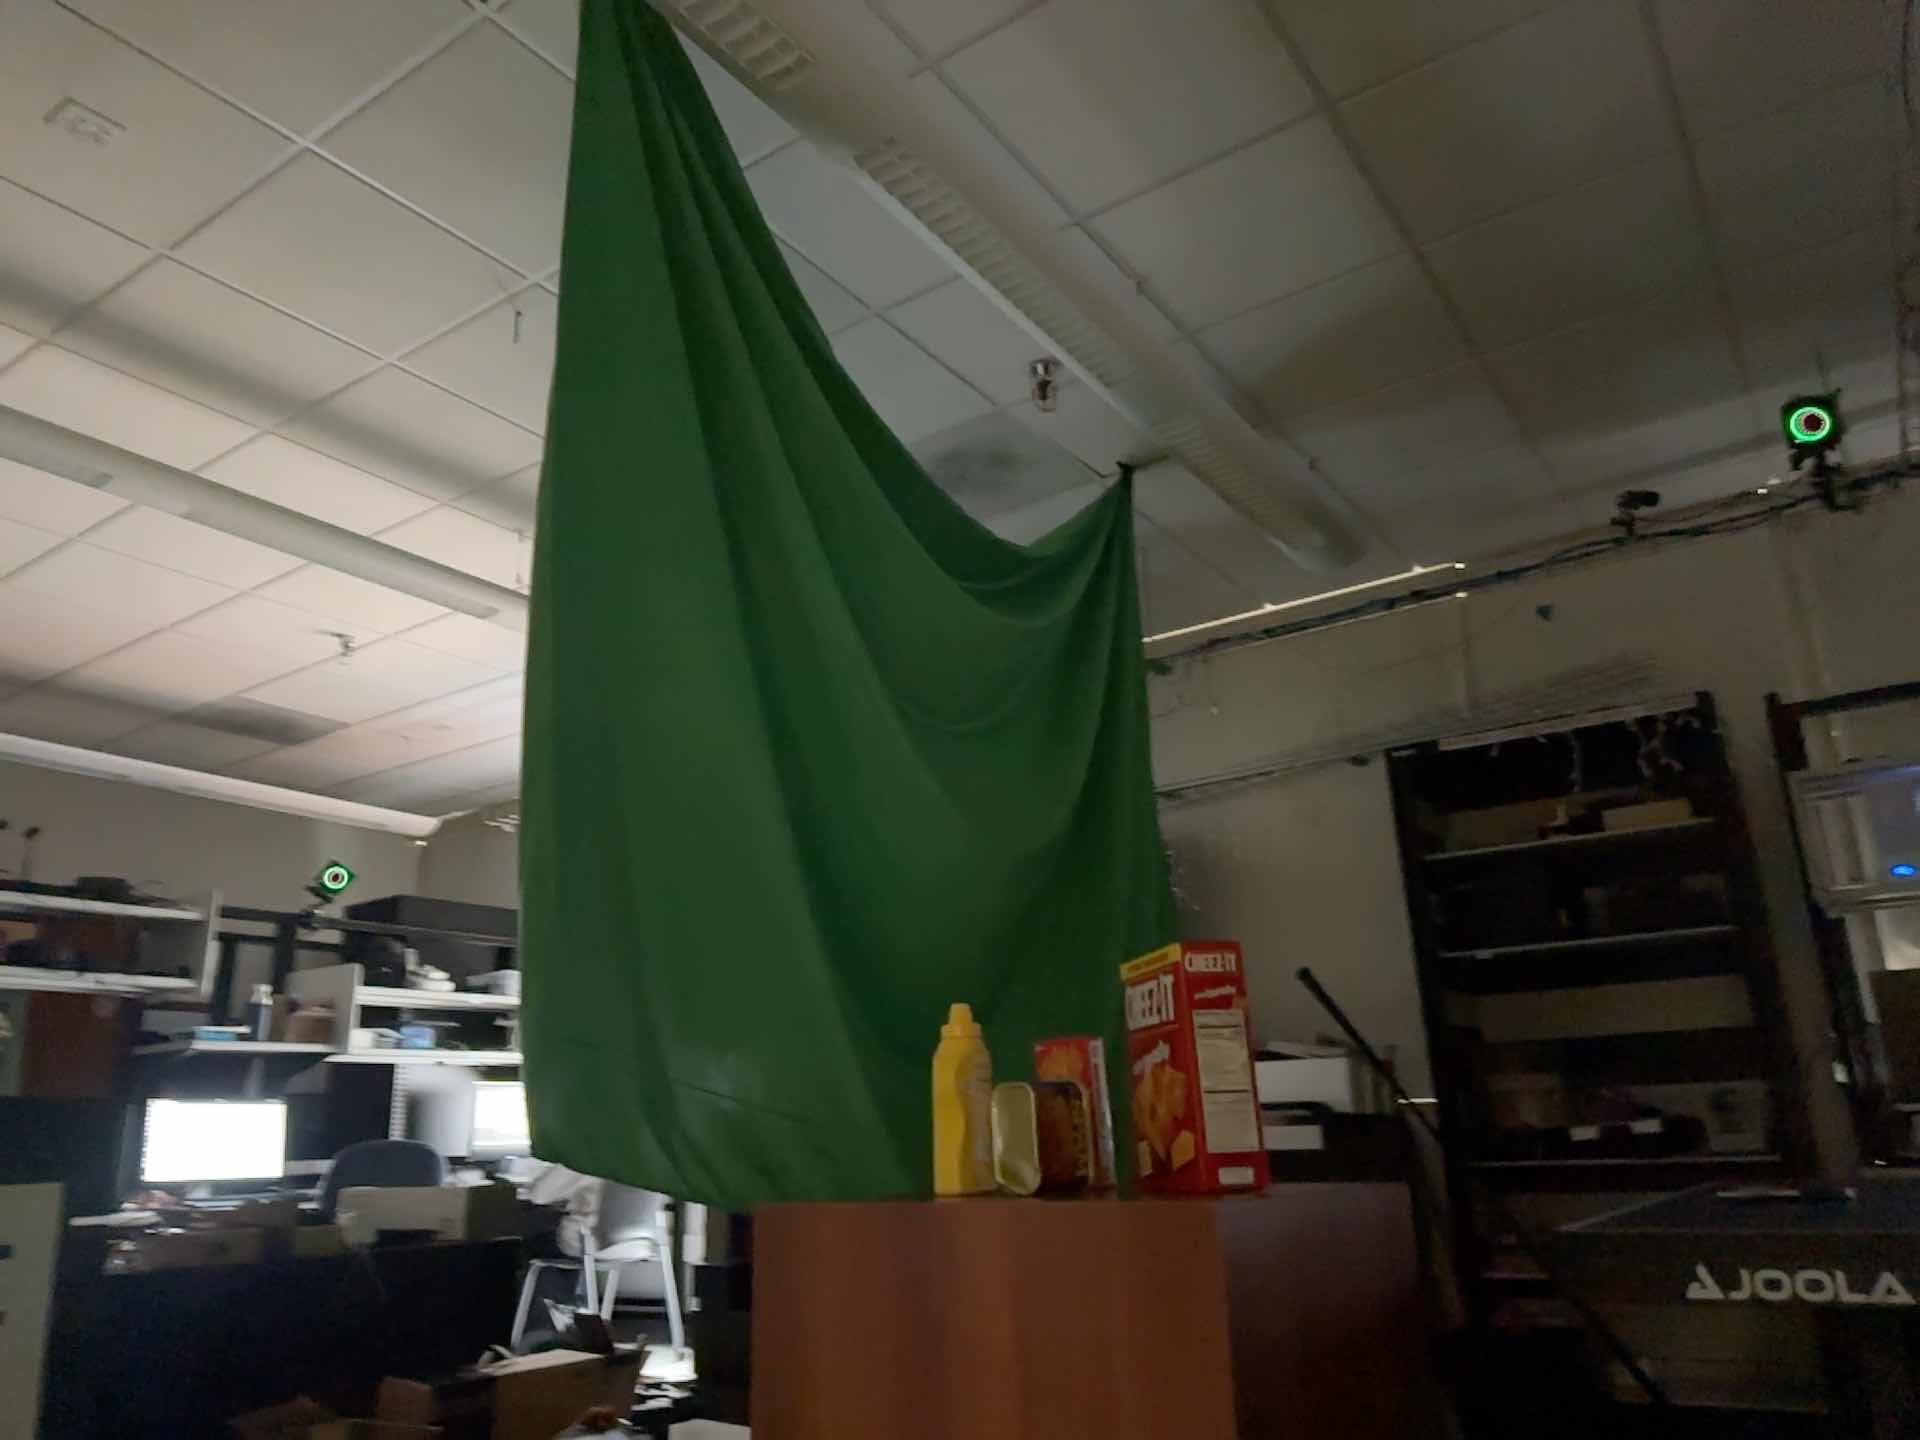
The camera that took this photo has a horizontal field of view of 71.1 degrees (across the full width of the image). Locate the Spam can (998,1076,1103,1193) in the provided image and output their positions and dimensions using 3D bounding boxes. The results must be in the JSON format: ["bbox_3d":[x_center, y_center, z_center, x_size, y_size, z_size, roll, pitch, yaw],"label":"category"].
[{"bbox_3d":[0.082,0.383,1.245,0.056,0.100,0.083,-16,-21,38],"label":"Spam can"}]

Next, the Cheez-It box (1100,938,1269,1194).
[{"bbox_3d":[0.205,0.326,1.269,0.062,0.214,0.159,5,-17,-24],"label":"Cheez-It box"}]

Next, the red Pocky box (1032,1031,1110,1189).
[{"bbox_3d":[0.113,0.406,1.398,0.028,0.155,0.083,13,-23,-40],"label":"red Pocky box"}]

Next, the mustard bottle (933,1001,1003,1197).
[{"bbox_3d":[0.006,0.371,1.326,0.054,0.184,0.092,-13,-21,31],"label":"mustard bottle"}]
